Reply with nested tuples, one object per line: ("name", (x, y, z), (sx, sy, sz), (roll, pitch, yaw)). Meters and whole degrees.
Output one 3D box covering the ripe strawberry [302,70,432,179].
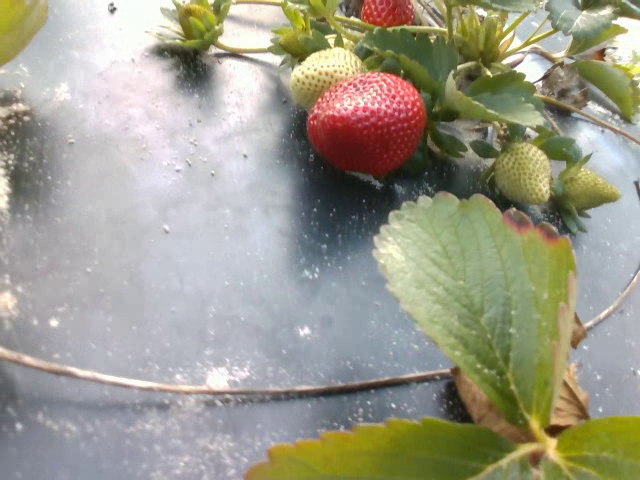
("ripe strawberry", (0.013, -0.047, 0.239), (0.051, 0.048, 0.055), (-8, 2, 25))
